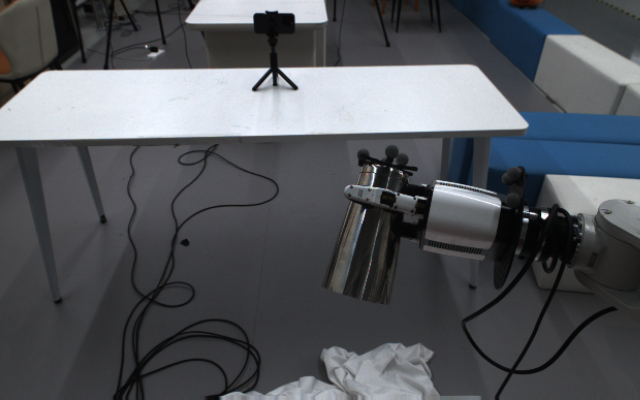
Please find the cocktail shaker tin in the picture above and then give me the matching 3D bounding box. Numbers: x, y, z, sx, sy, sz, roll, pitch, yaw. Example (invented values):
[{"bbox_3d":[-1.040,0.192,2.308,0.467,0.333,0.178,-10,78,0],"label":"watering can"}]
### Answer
[{"bbox_3d":[0.069,0.041,0.646,0.093,0.170,0.093,15,-5,1],"label":"cocktail shaker tin"}]
